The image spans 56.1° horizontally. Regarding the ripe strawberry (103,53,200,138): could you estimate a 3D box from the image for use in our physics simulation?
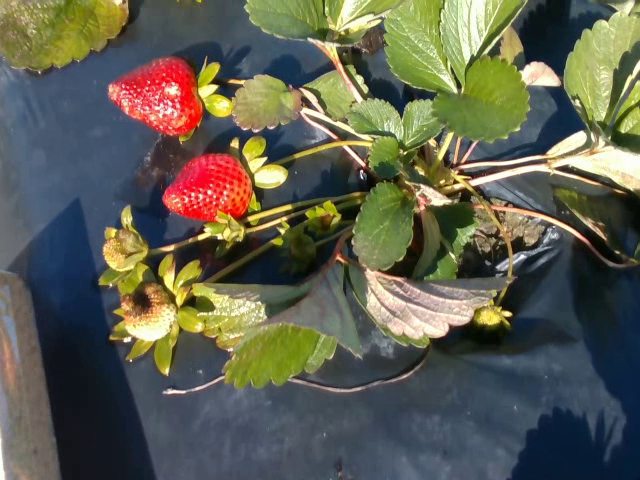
[{"bbox_3d":[-0.088,-0.077,0.310,0.050,0.051,0.044,3,-25,-32],"label":"ripe strawberry"}]

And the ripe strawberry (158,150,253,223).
[{"bbox_3d":[-0.055,-0.022,0.275,0.042,0.039,0.049,10,21,41],"label":"ripe strawberry"}]
